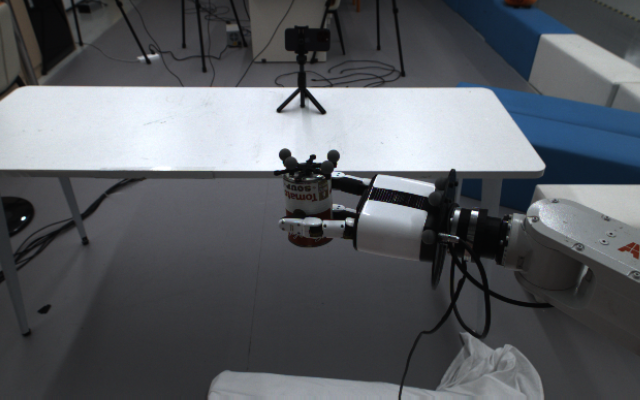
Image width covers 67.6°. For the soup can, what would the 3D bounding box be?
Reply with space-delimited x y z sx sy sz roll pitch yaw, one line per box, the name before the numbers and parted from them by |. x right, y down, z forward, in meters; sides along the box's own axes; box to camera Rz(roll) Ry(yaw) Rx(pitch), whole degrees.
soup can | -0.014 0.006 0.679 0.067 0.101 0.067 -3 27 2
